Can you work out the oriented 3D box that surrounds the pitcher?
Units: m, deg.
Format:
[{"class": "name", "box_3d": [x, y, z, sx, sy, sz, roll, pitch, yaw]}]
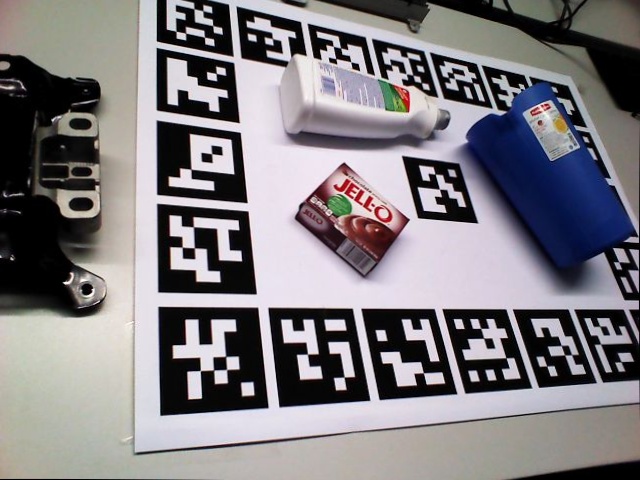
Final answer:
[{"class": "pitcher", "box_3d": [0.336, -0.072, 0.746, 0.242, 0.134, 0.188, 63, 23, 9]}]

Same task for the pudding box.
[{"class": "pudding box", "box_3d": [0.044, -0.022, 0.610, 0.114, 0.039, 0.089, 44, 49, 0]}]

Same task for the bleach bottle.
[{"class": "bleach bottle", "box_3d": [0.079, -0.177, 0.702, 0.250, 0.068, 0.102, 2, 67, -26]}]
